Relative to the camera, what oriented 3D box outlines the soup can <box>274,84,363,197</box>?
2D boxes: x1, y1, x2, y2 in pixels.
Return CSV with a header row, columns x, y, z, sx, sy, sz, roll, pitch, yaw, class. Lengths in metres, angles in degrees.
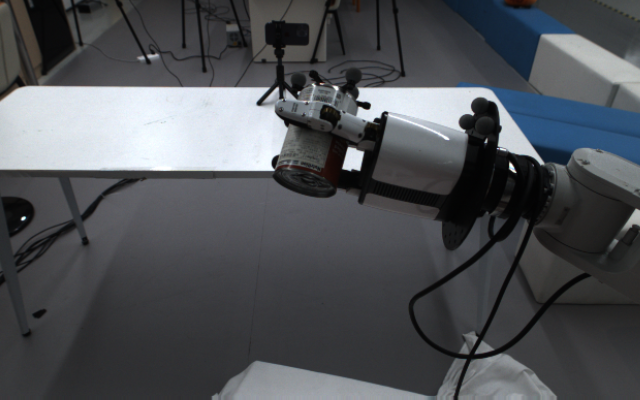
x,y,z,sx,sy,sz,roll,pitch,yaw,class
-0.001,-0.062,0.511,0.067,0.067,0.101,11,72,13,soup can
